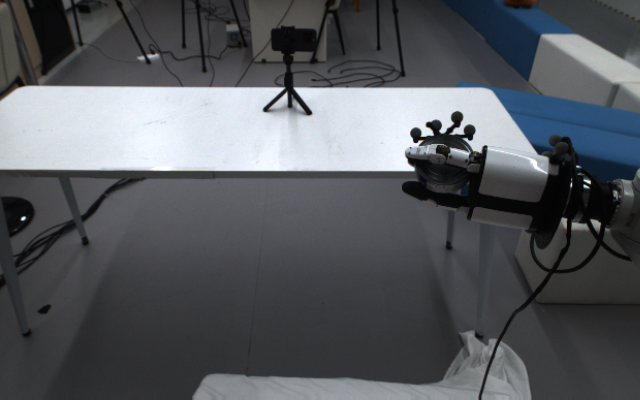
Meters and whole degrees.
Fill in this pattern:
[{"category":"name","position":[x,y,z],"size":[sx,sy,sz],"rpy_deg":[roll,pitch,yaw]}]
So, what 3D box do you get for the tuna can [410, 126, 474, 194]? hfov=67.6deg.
[{"category":"tuna can","position":[0.182,-0.056,0.716],"size":[0.085,0.034,0.085],"rpy_deg":[-6,59,11]}]
